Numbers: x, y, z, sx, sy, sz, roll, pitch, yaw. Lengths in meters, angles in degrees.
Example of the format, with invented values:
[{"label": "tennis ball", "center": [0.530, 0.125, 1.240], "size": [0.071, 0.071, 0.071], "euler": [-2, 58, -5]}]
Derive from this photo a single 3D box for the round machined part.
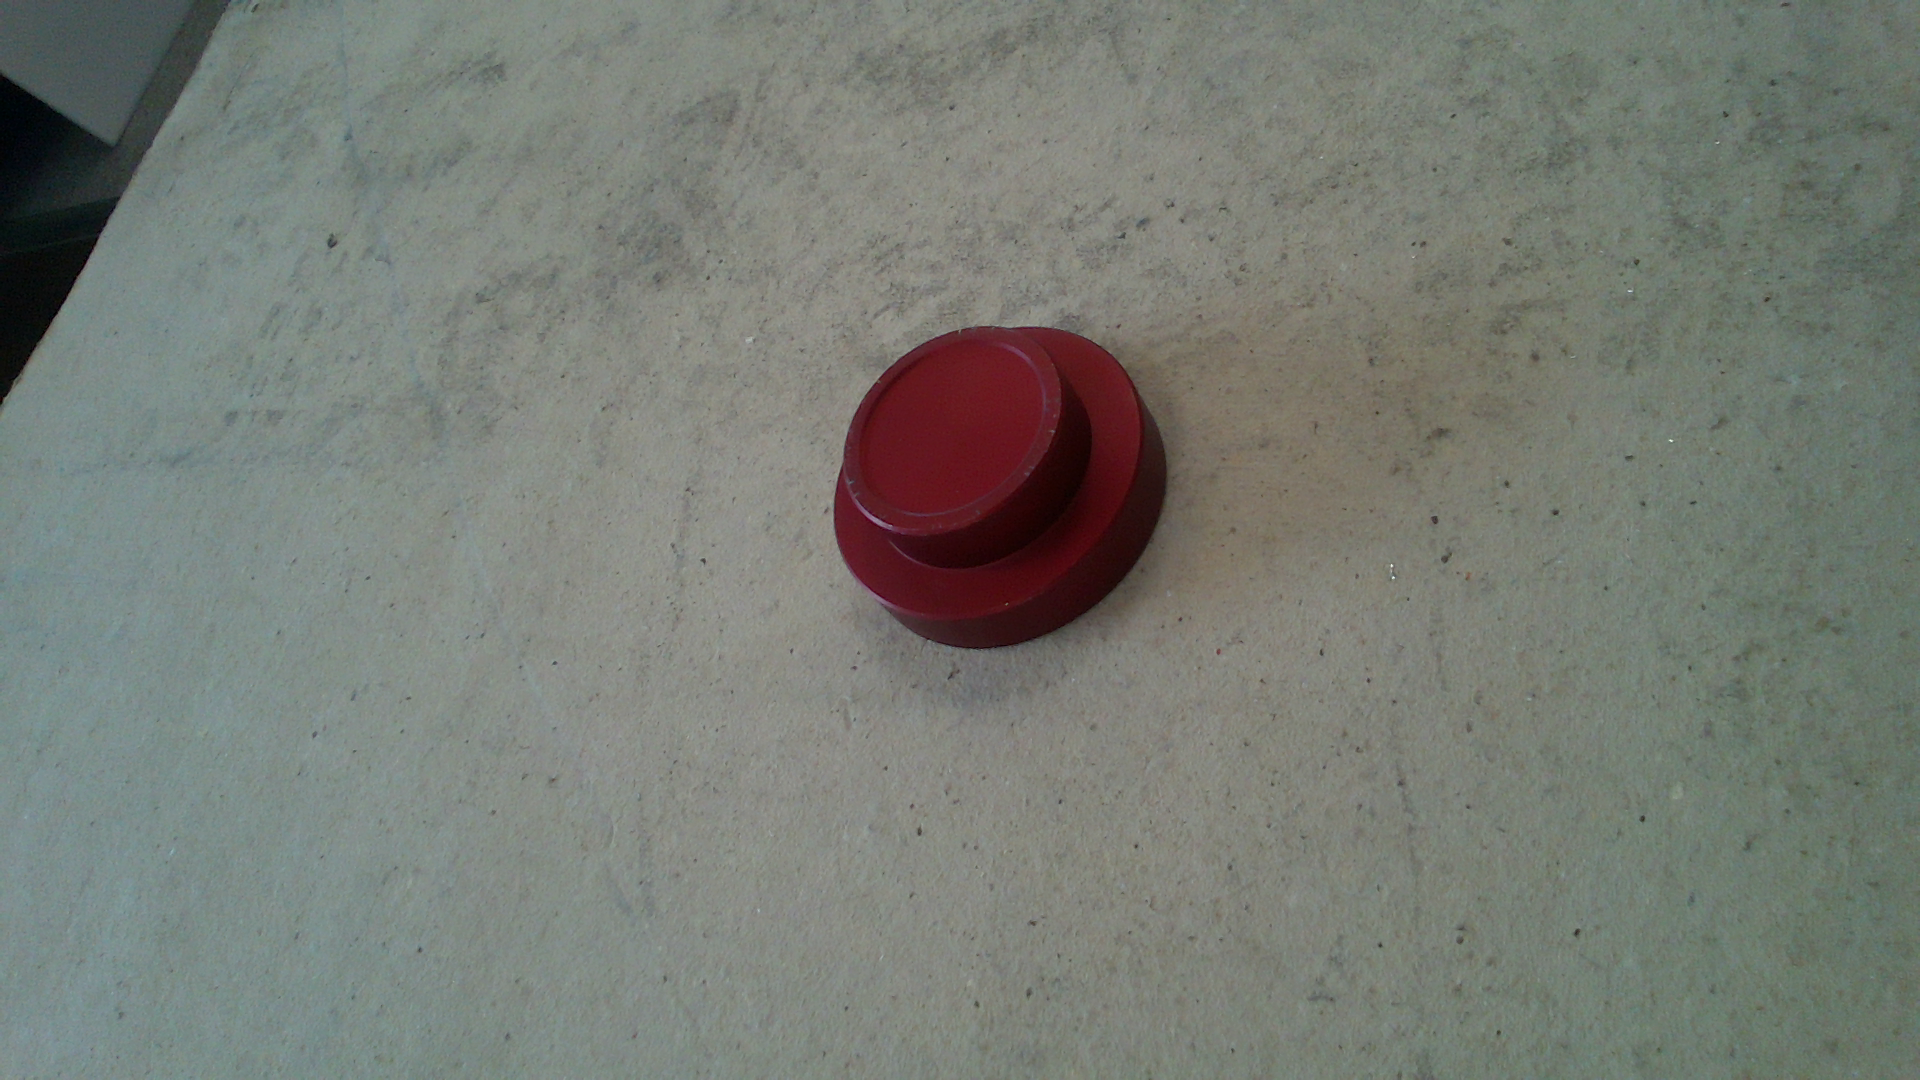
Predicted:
[{"label": "round machined part", "center": [0.006, -0.022, 0.394], "size": [0.098, 0.042, 0.098], "euler": [-13, 56, 21]}]
